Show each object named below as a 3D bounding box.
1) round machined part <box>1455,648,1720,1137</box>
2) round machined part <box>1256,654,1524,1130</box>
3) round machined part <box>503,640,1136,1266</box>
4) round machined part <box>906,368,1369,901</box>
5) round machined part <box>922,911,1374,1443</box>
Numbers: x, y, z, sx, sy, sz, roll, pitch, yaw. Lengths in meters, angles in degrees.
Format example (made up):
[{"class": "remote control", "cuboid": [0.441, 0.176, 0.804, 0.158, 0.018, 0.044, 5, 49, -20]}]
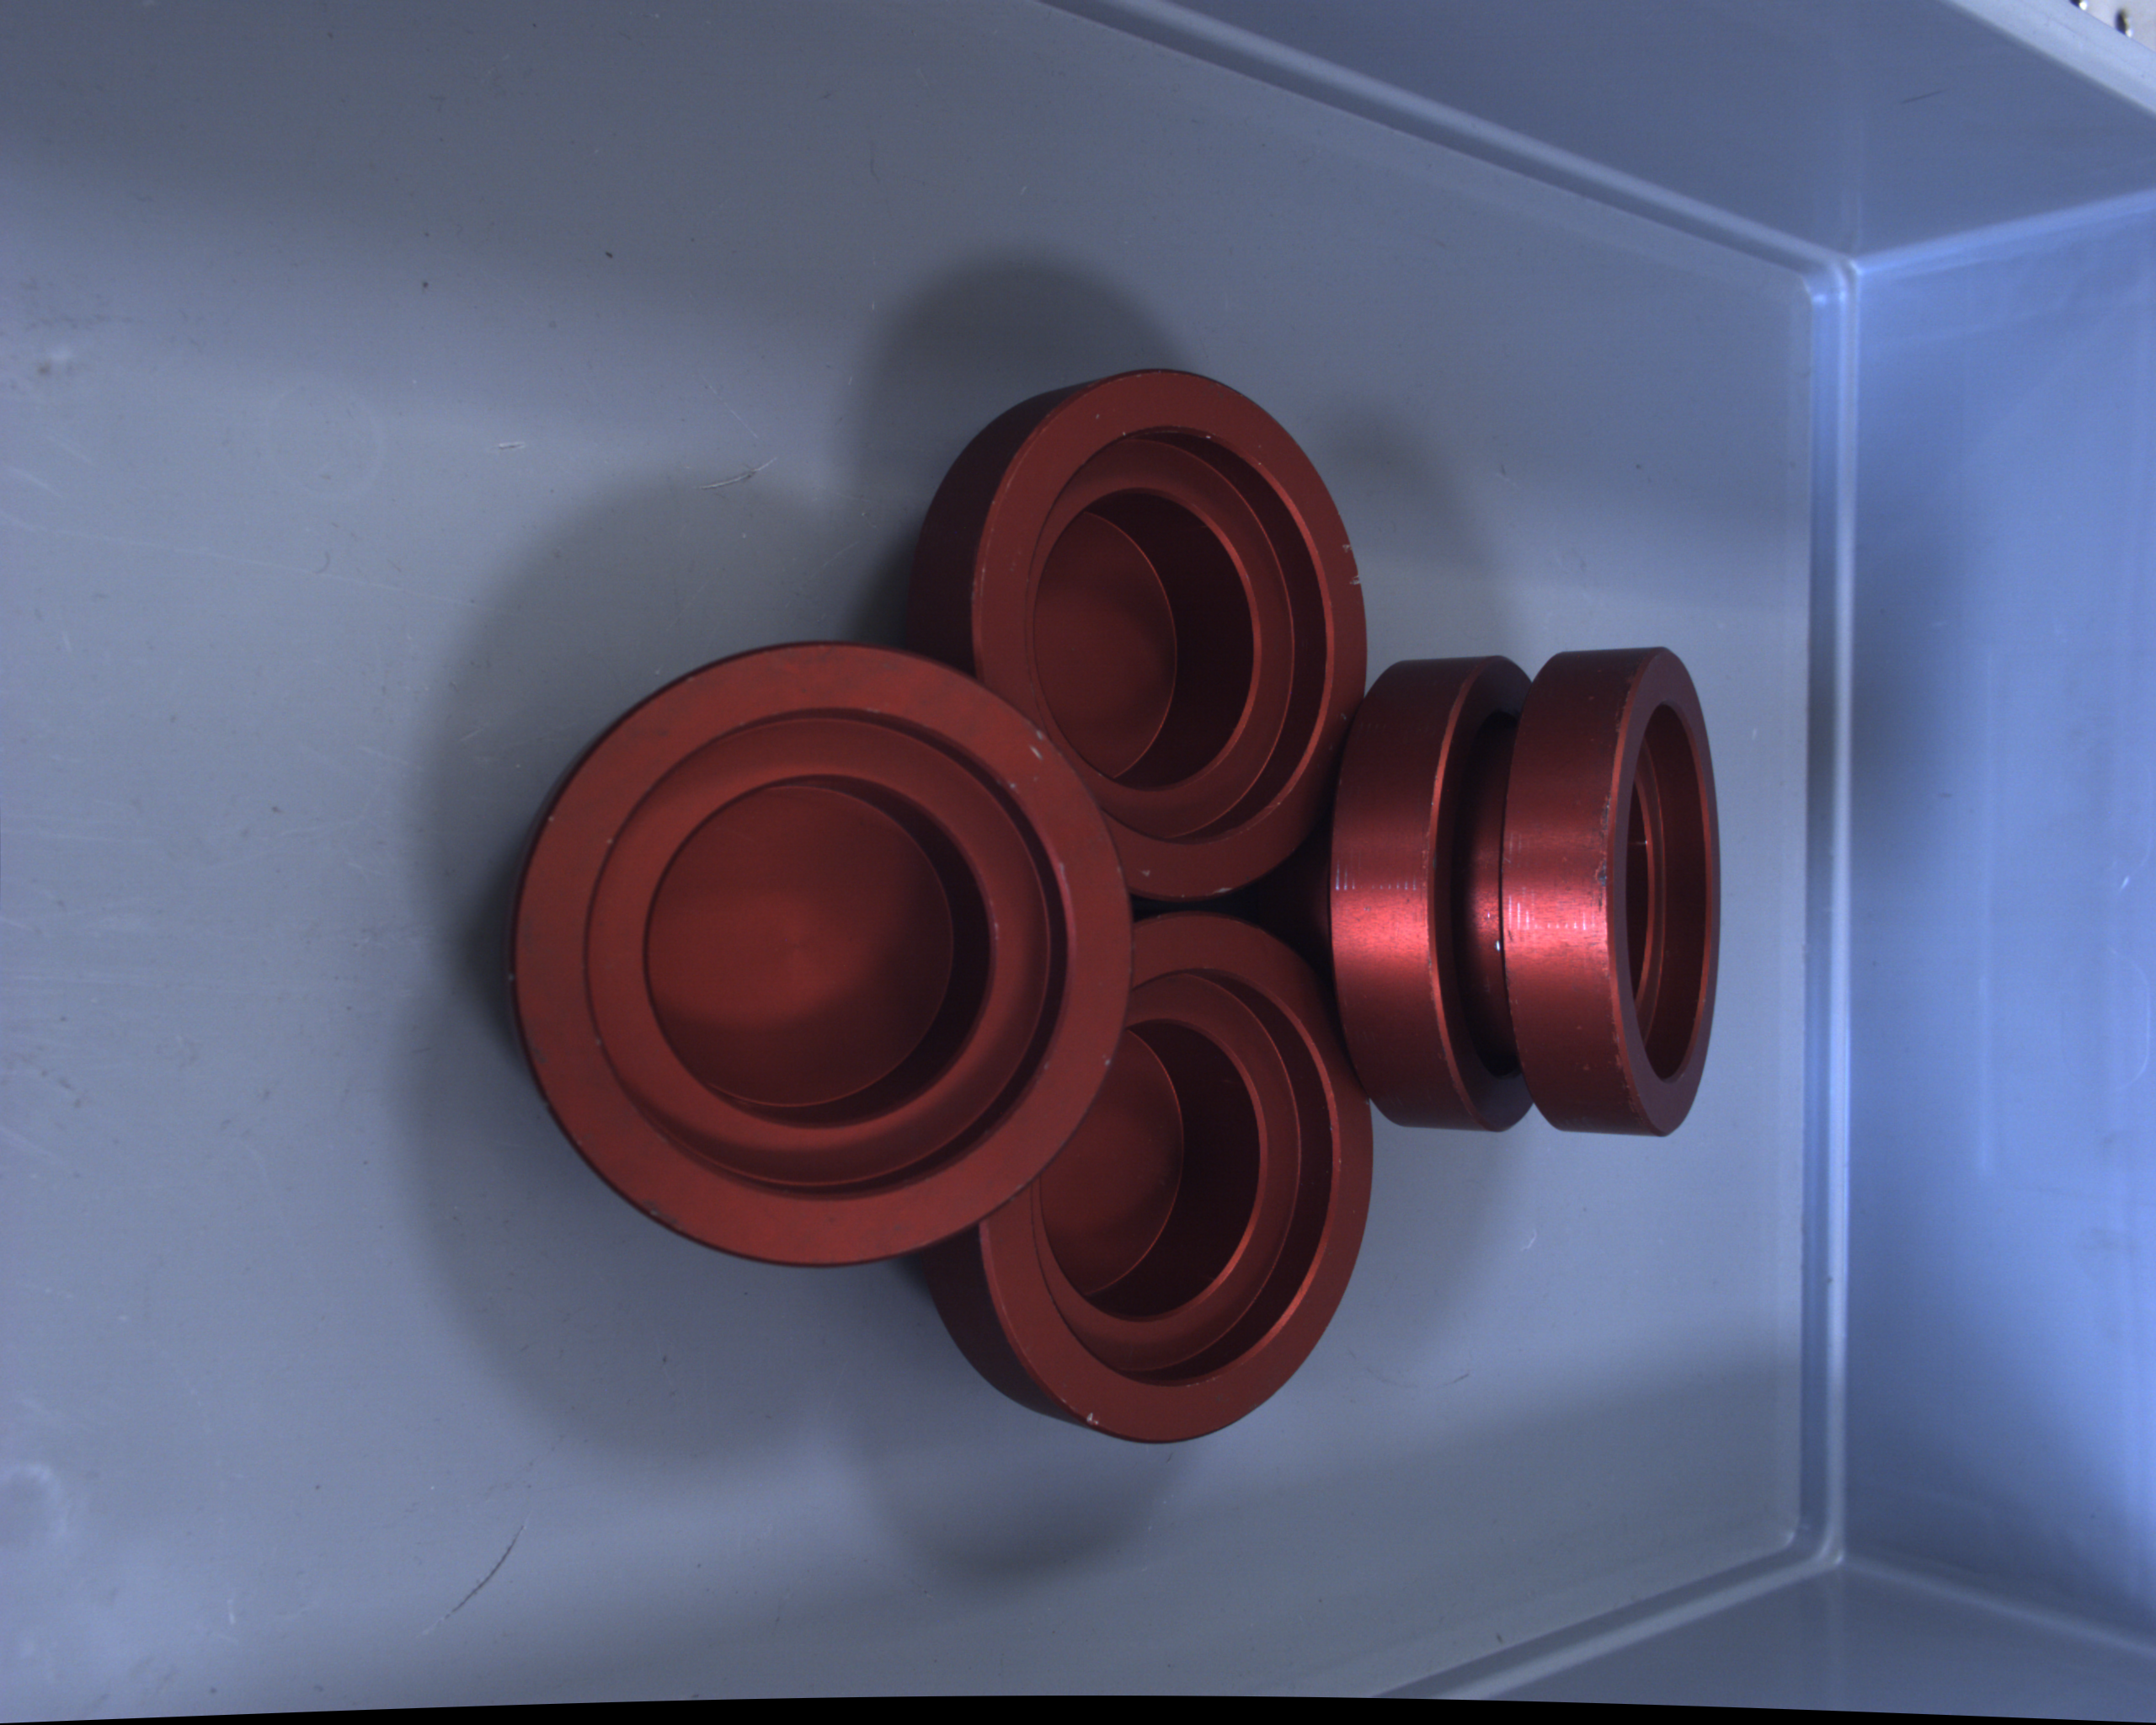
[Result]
[{"class": "round machined part", "cuboid": [0.100, 0.006, 0.426, 0.098, 0.042, 0.097, 0, 90, -62]}, {"class": "round machined part", "cuboid": [0.070, 0.006, 0.438, 0.098, 0.042, 0.097, 2, 87, -62]}, {"class": "round machined part", "cuboid": [-0.044, 0.014, 0.343, 0.099, 0.042, 0.097, 0, 90, -19]}, {"class": "round machined part", "cuboid": [0.007, -0.042, 0.398, 0.099, 0.042, 0.097, 0, 90, -40]}, {"class": "round machined part", "cuboid": [0.008, 0.057, 0.400, 0.099, 0.042, 0.097, 0, 90, -40]}]
